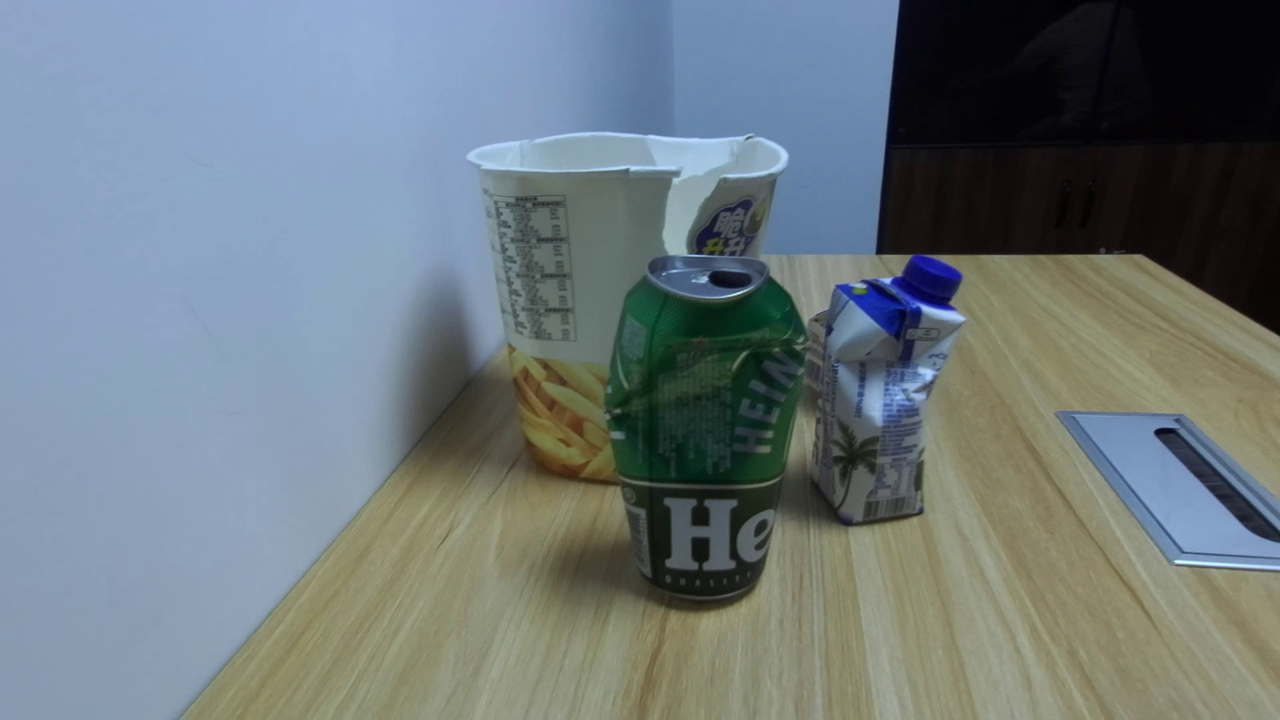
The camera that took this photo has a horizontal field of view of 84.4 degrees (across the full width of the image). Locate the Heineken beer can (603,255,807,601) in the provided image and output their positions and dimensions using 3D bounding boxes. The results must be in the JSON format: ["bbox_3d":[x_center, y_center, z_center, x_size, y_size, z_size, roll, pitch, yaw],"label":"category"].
[{"bbox_3d":[0.028,0.038,0.338,0.066,0.164,0.077,-21,29,-41],"label":"Heineken beer can"}]

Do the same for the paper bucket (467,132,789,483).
[{"bbox_3d":[-0.008,-0.040,0.462,0.202,0.197,0.146,6,27,19],"label":"paper bucket"}]

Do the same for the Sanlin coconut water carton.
[{"bbox_3d":[0.133,0.016,0.388,0.070,0.144,0.060,-5,25,-9],"label":"Sanlin coconut water carton"}]
